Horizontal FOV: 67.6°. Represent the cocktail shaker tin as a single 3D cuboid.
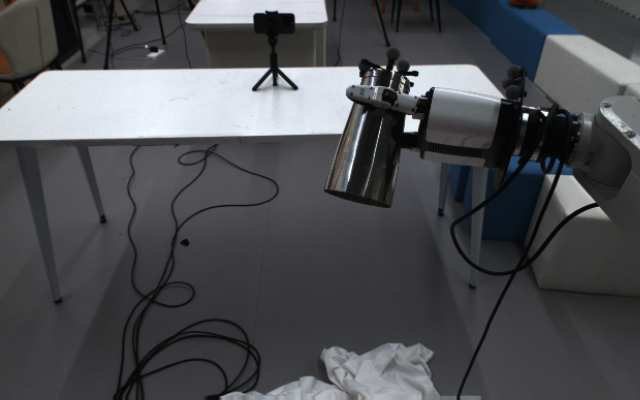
[{"bbox_3d":[0.072,-0.086,0.653,0.093,0.170,0.093,15,-5,1],"label":"cocktail shaker tin"}]
